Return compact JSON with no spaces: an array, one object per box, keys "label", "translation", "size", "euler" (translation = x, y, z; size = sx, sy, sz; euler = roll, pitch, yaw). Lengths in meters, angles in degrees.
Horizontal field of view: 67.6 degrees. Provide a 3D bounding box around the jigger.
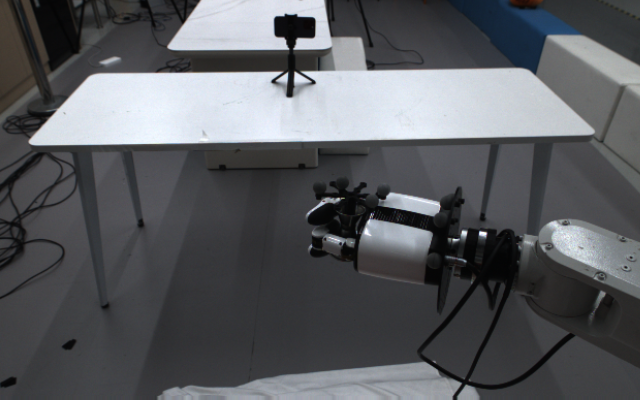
[{"label":"jigger","translation":[0.040,0.040,0.635],"size":[0.043,0.071,0.043],"euler":[3,25,-1]}]
